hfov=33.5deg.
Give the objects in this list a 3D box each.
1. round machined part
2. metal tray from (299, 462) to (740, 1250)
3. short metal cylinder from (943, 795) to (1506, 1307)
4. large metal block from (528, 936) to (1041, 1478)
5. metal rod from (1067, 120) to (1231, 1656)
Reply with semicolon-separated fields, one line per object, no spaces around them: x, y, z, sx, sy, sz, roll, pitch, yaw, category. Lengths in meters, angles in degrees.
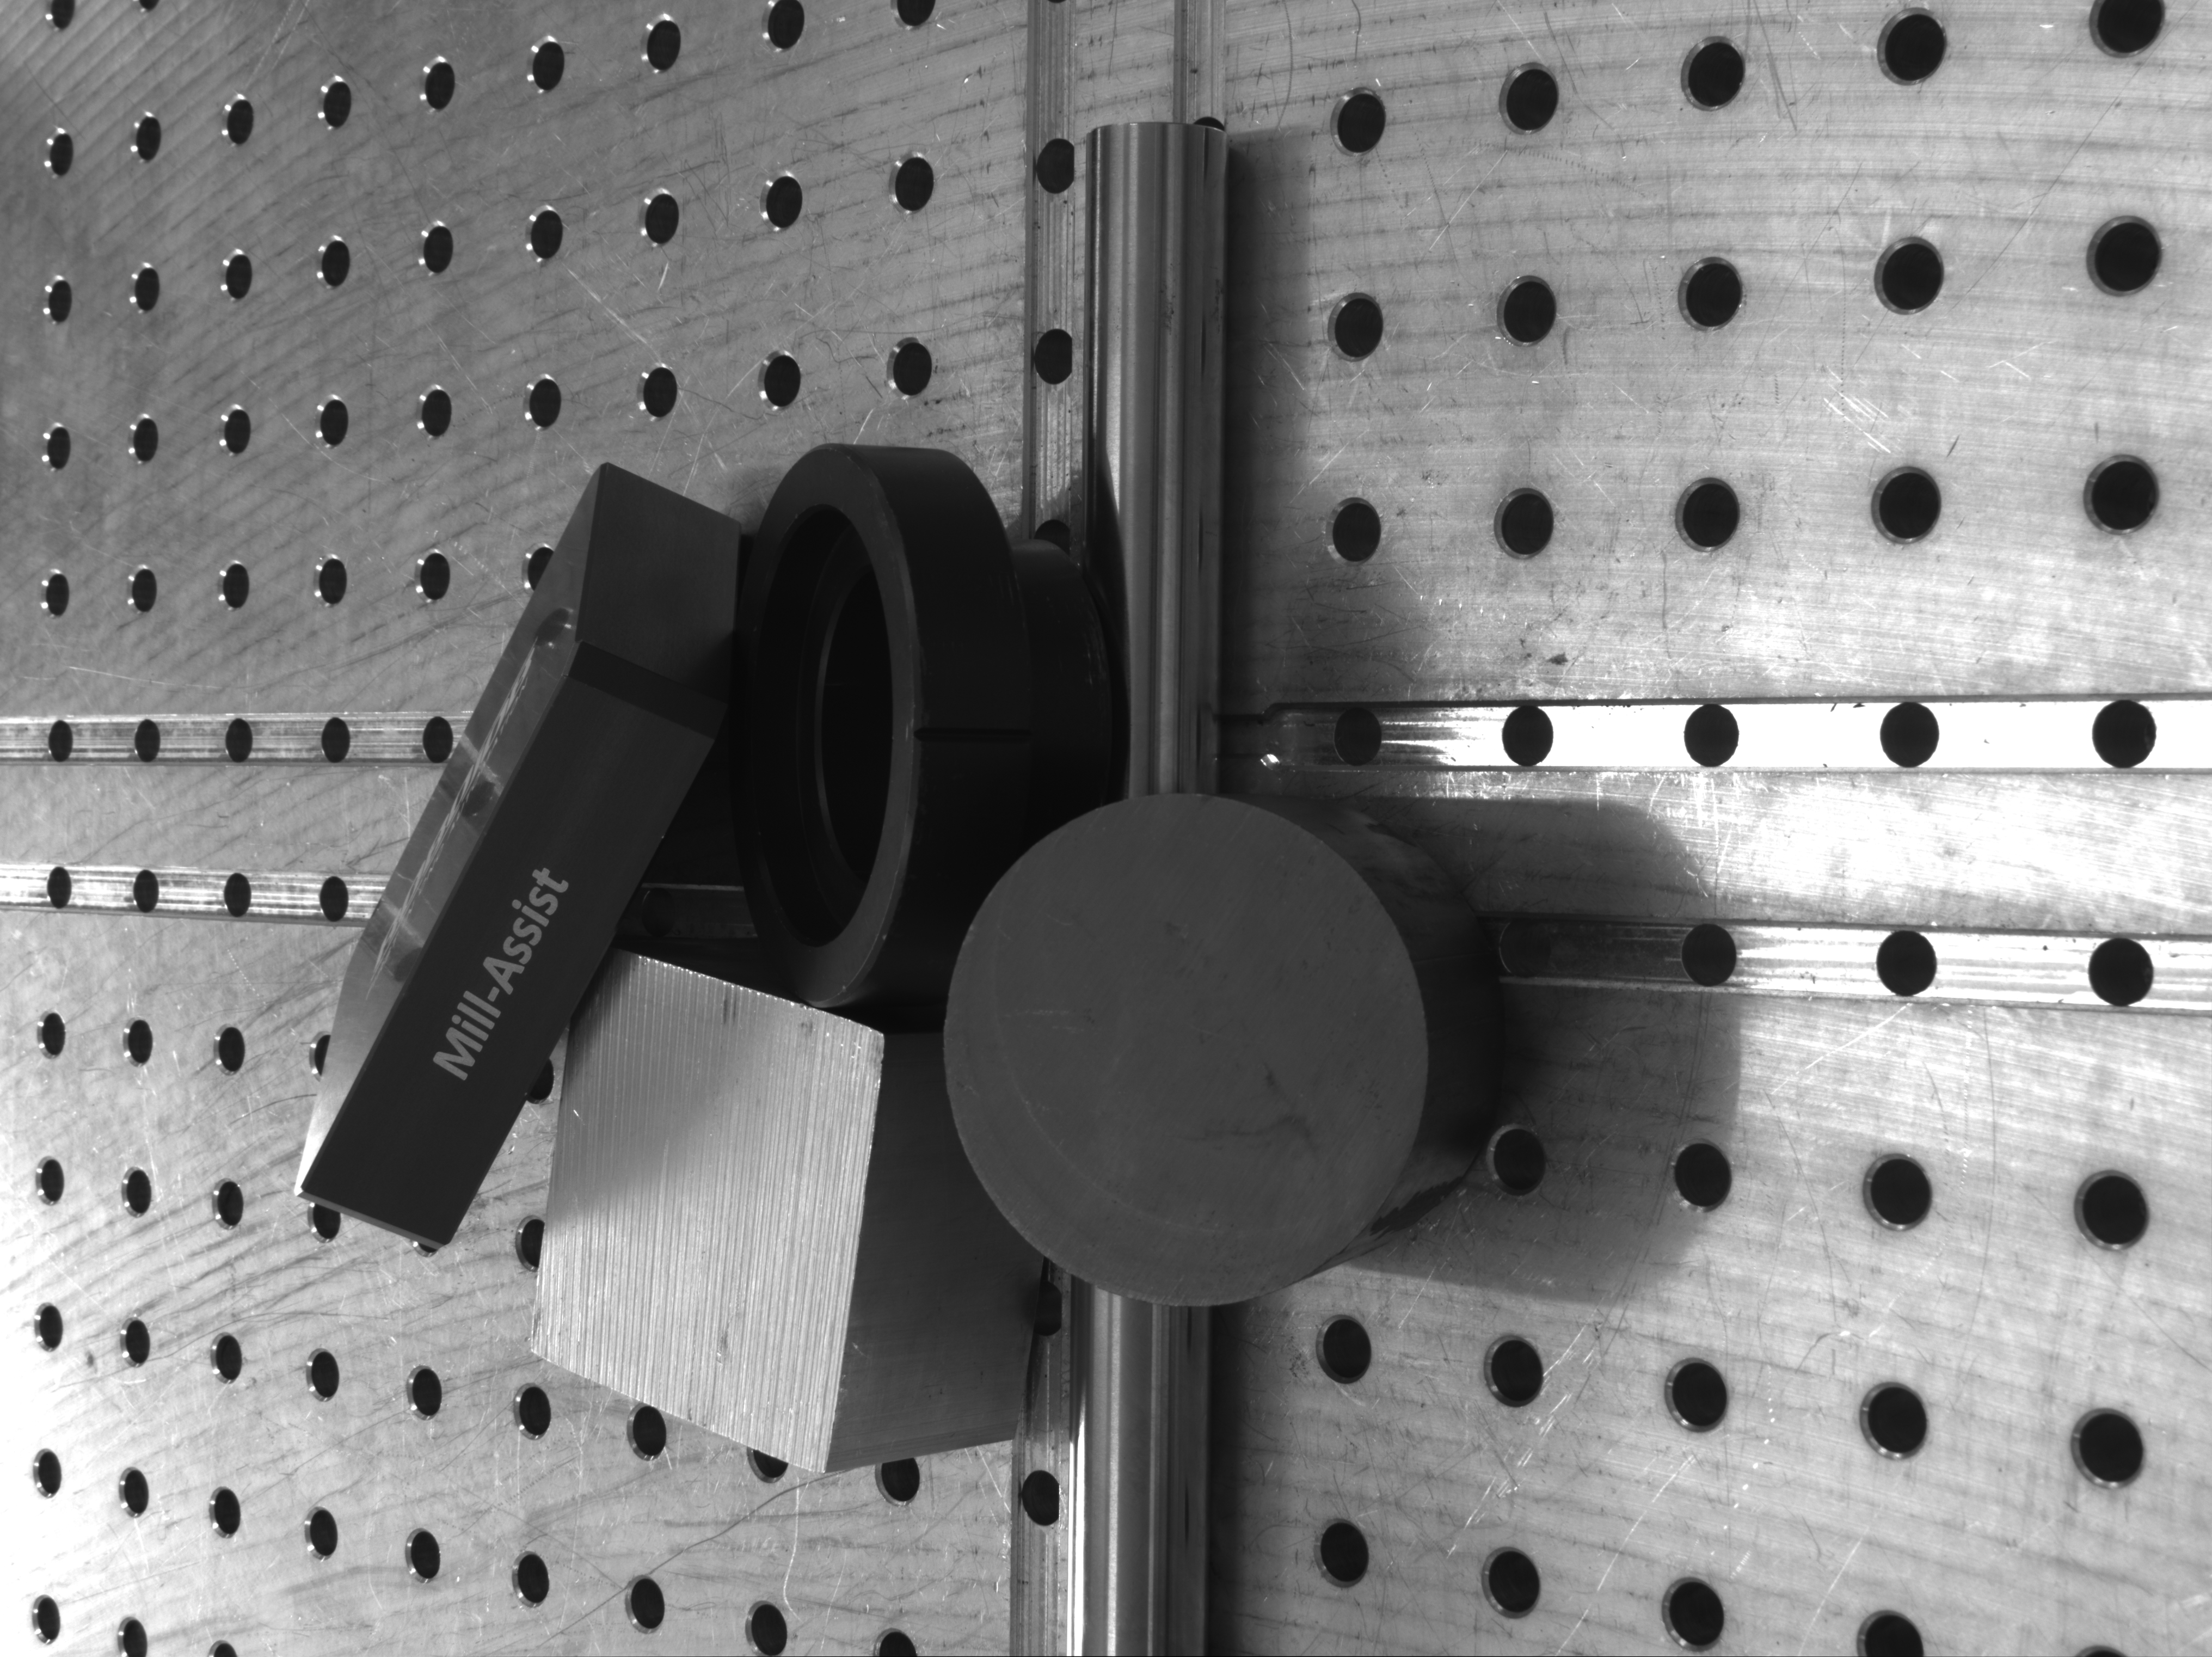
-0.032;-0.018;0.648;0.098;0.042;0.098;-179;90;-66;round machined part
-0.112;0.005;0.708;0.130;0.030;0.090;-59;18;23;metal tray
0.020;0.035;0.598;0.080;0.050;0.080;0;90;20;short metal cylinder
-0.057;0.067;0.680;0.080;0.050;0.080;13;99;39;large metal block
0.007;0.029;0.643;0.025;0.025;0.300;1;91;40;metal rod
